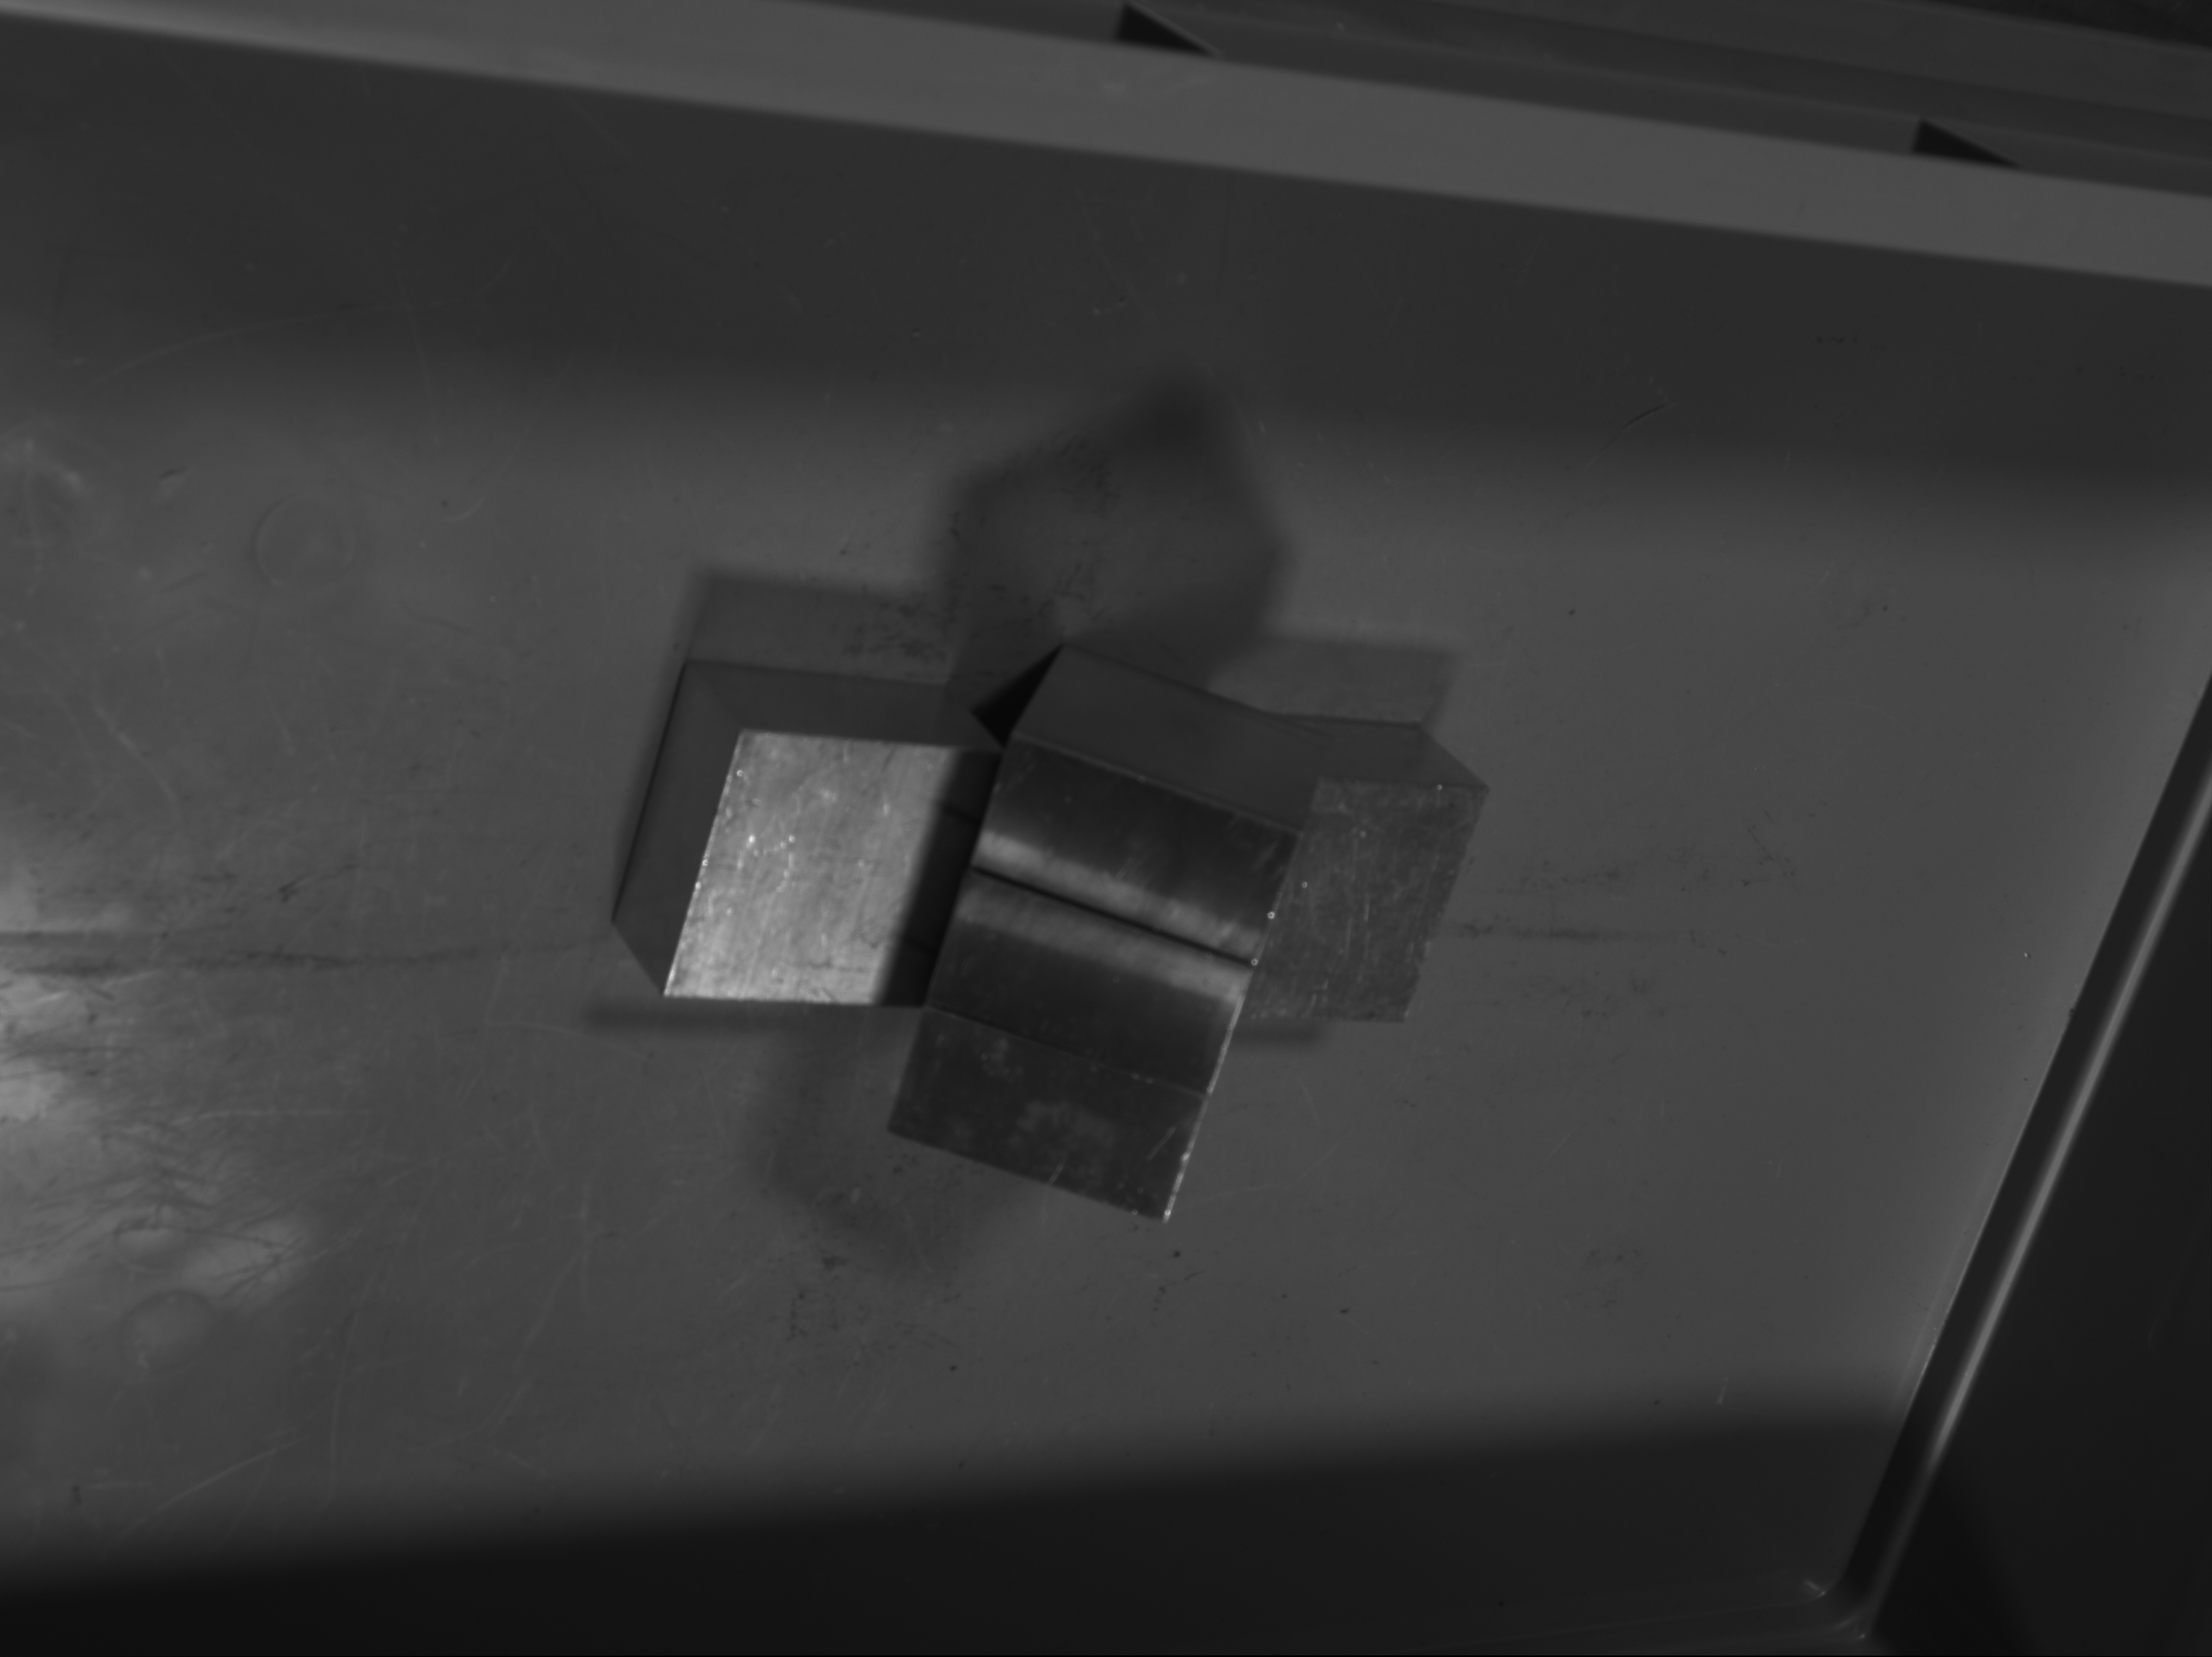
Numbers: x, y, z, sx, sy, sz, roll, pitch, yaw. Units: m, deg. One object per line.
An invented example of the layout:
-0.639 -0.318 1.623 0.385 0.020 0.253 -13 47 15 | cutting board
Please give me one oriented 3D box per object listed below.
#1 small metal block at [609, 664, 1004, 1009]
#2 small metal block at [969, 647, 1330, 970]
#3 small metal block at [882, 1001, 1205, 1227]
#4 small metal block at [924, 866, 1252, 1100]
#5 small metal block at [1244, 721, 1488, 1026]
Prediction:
-0.051 0.002 0.621 0.050 0.025 0.050 4 116 -32 | small metal block
0.008 -0.004 0.622 0.050 0.050 0.025 19 112 2 | small metal block
-0.007 0.040 0.641 0.050 0.050 0.025 18 112 2 | small metal block
0.000 0.018 0.631 0.050 0.050 0.025 18 112 2 | small metal block
0.036 0.008 0.676 0.050 0.025 0.050 3 116 -32 | small metal block
